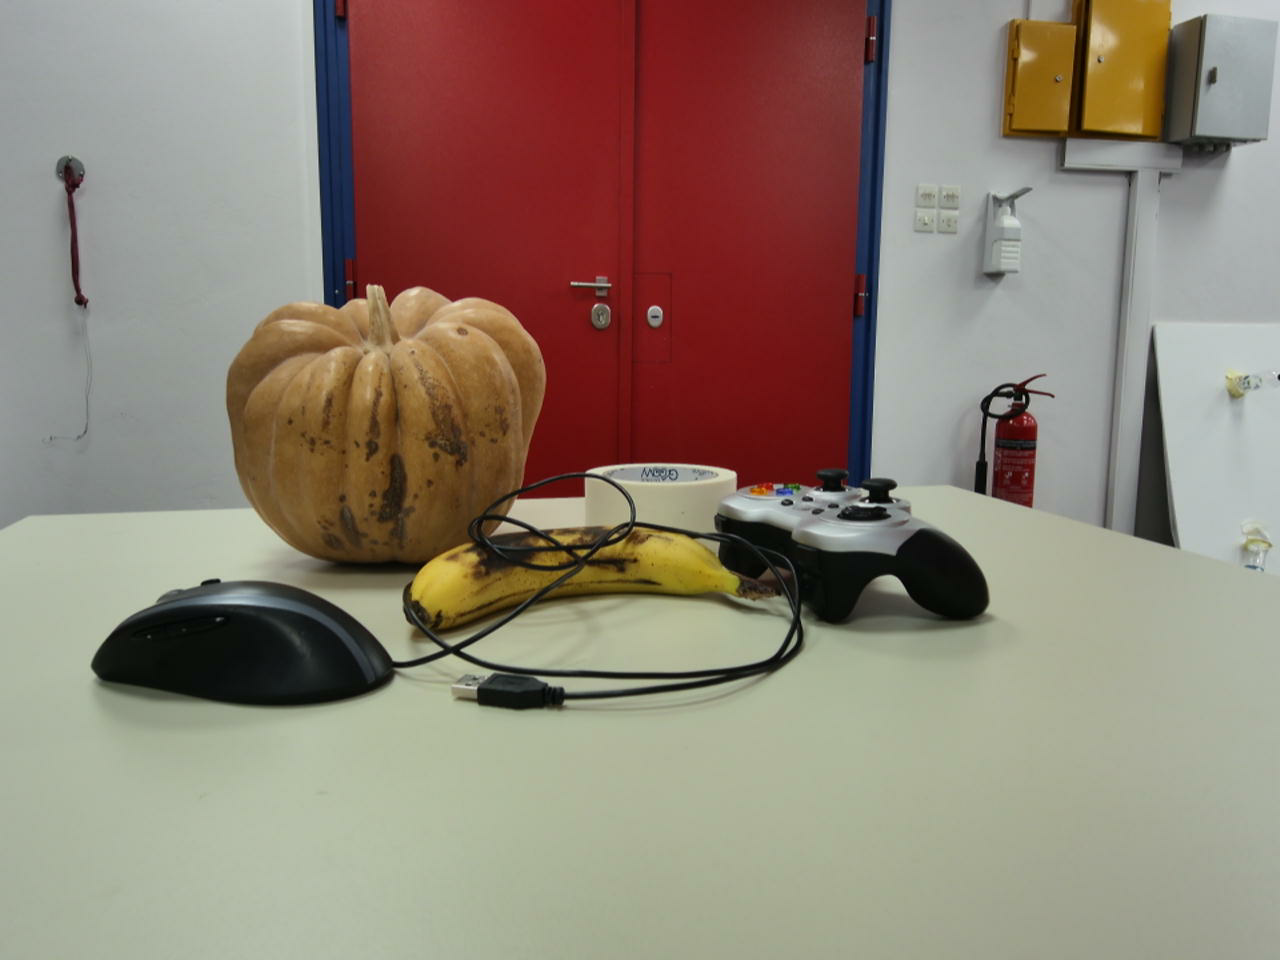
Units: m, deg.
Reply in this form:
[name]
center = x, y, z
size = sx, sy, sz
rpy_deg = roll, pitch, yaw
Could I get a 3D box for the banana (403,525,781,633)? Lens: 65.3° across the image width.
[banana]
center = -0.030, 0.049, 0.530
size = 0.187, 0.039, 0.094
rpy_deg = -2, 7, -15
